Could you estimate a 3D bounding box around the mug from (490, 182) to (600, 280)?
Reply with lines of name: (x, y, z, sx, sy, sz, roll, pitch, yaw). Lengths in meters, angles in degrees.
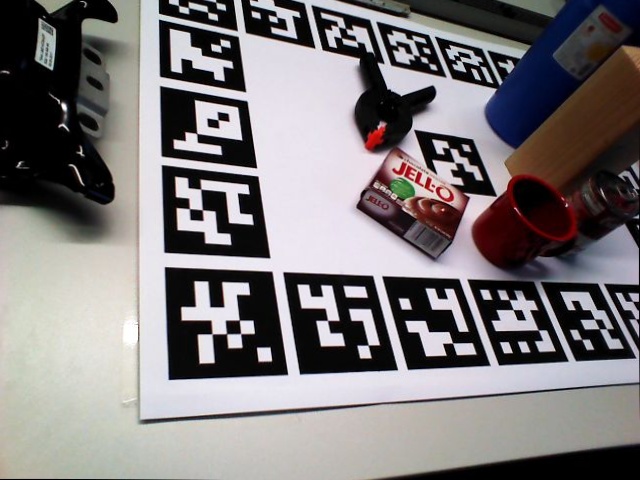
mug: (0.265, 0.000, 0.604, 0.117, 0.082, 0.092, 33, 48, 0)

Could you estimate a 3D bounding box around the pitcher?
pitcher: (0.382, -0.228, 0.709, 0.188, 0.244, 0.132, 2, 56, -21)

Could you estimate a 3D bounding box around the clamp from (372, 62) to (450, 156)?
clamp: (0.111, -0.169, 0.684, 0.122, 0.037, 0.164, 33, 51, -12)

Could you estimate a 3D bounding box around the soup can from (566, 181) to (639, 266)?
soup can: (0.352, -0.016, 0.641, 0.068, 0.103, 0.067, 11, 57, -18)

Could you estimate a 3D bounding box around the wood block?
wood block: (0.373, -0.119, 0.652, 0.089, 0.208, 0.090, 3, 57, -28)

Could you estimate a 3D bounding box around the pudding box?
pudding box: (0.119, -0.036, 0.592, 0.114, 0.039, 0.089, 34, 54, 0)
